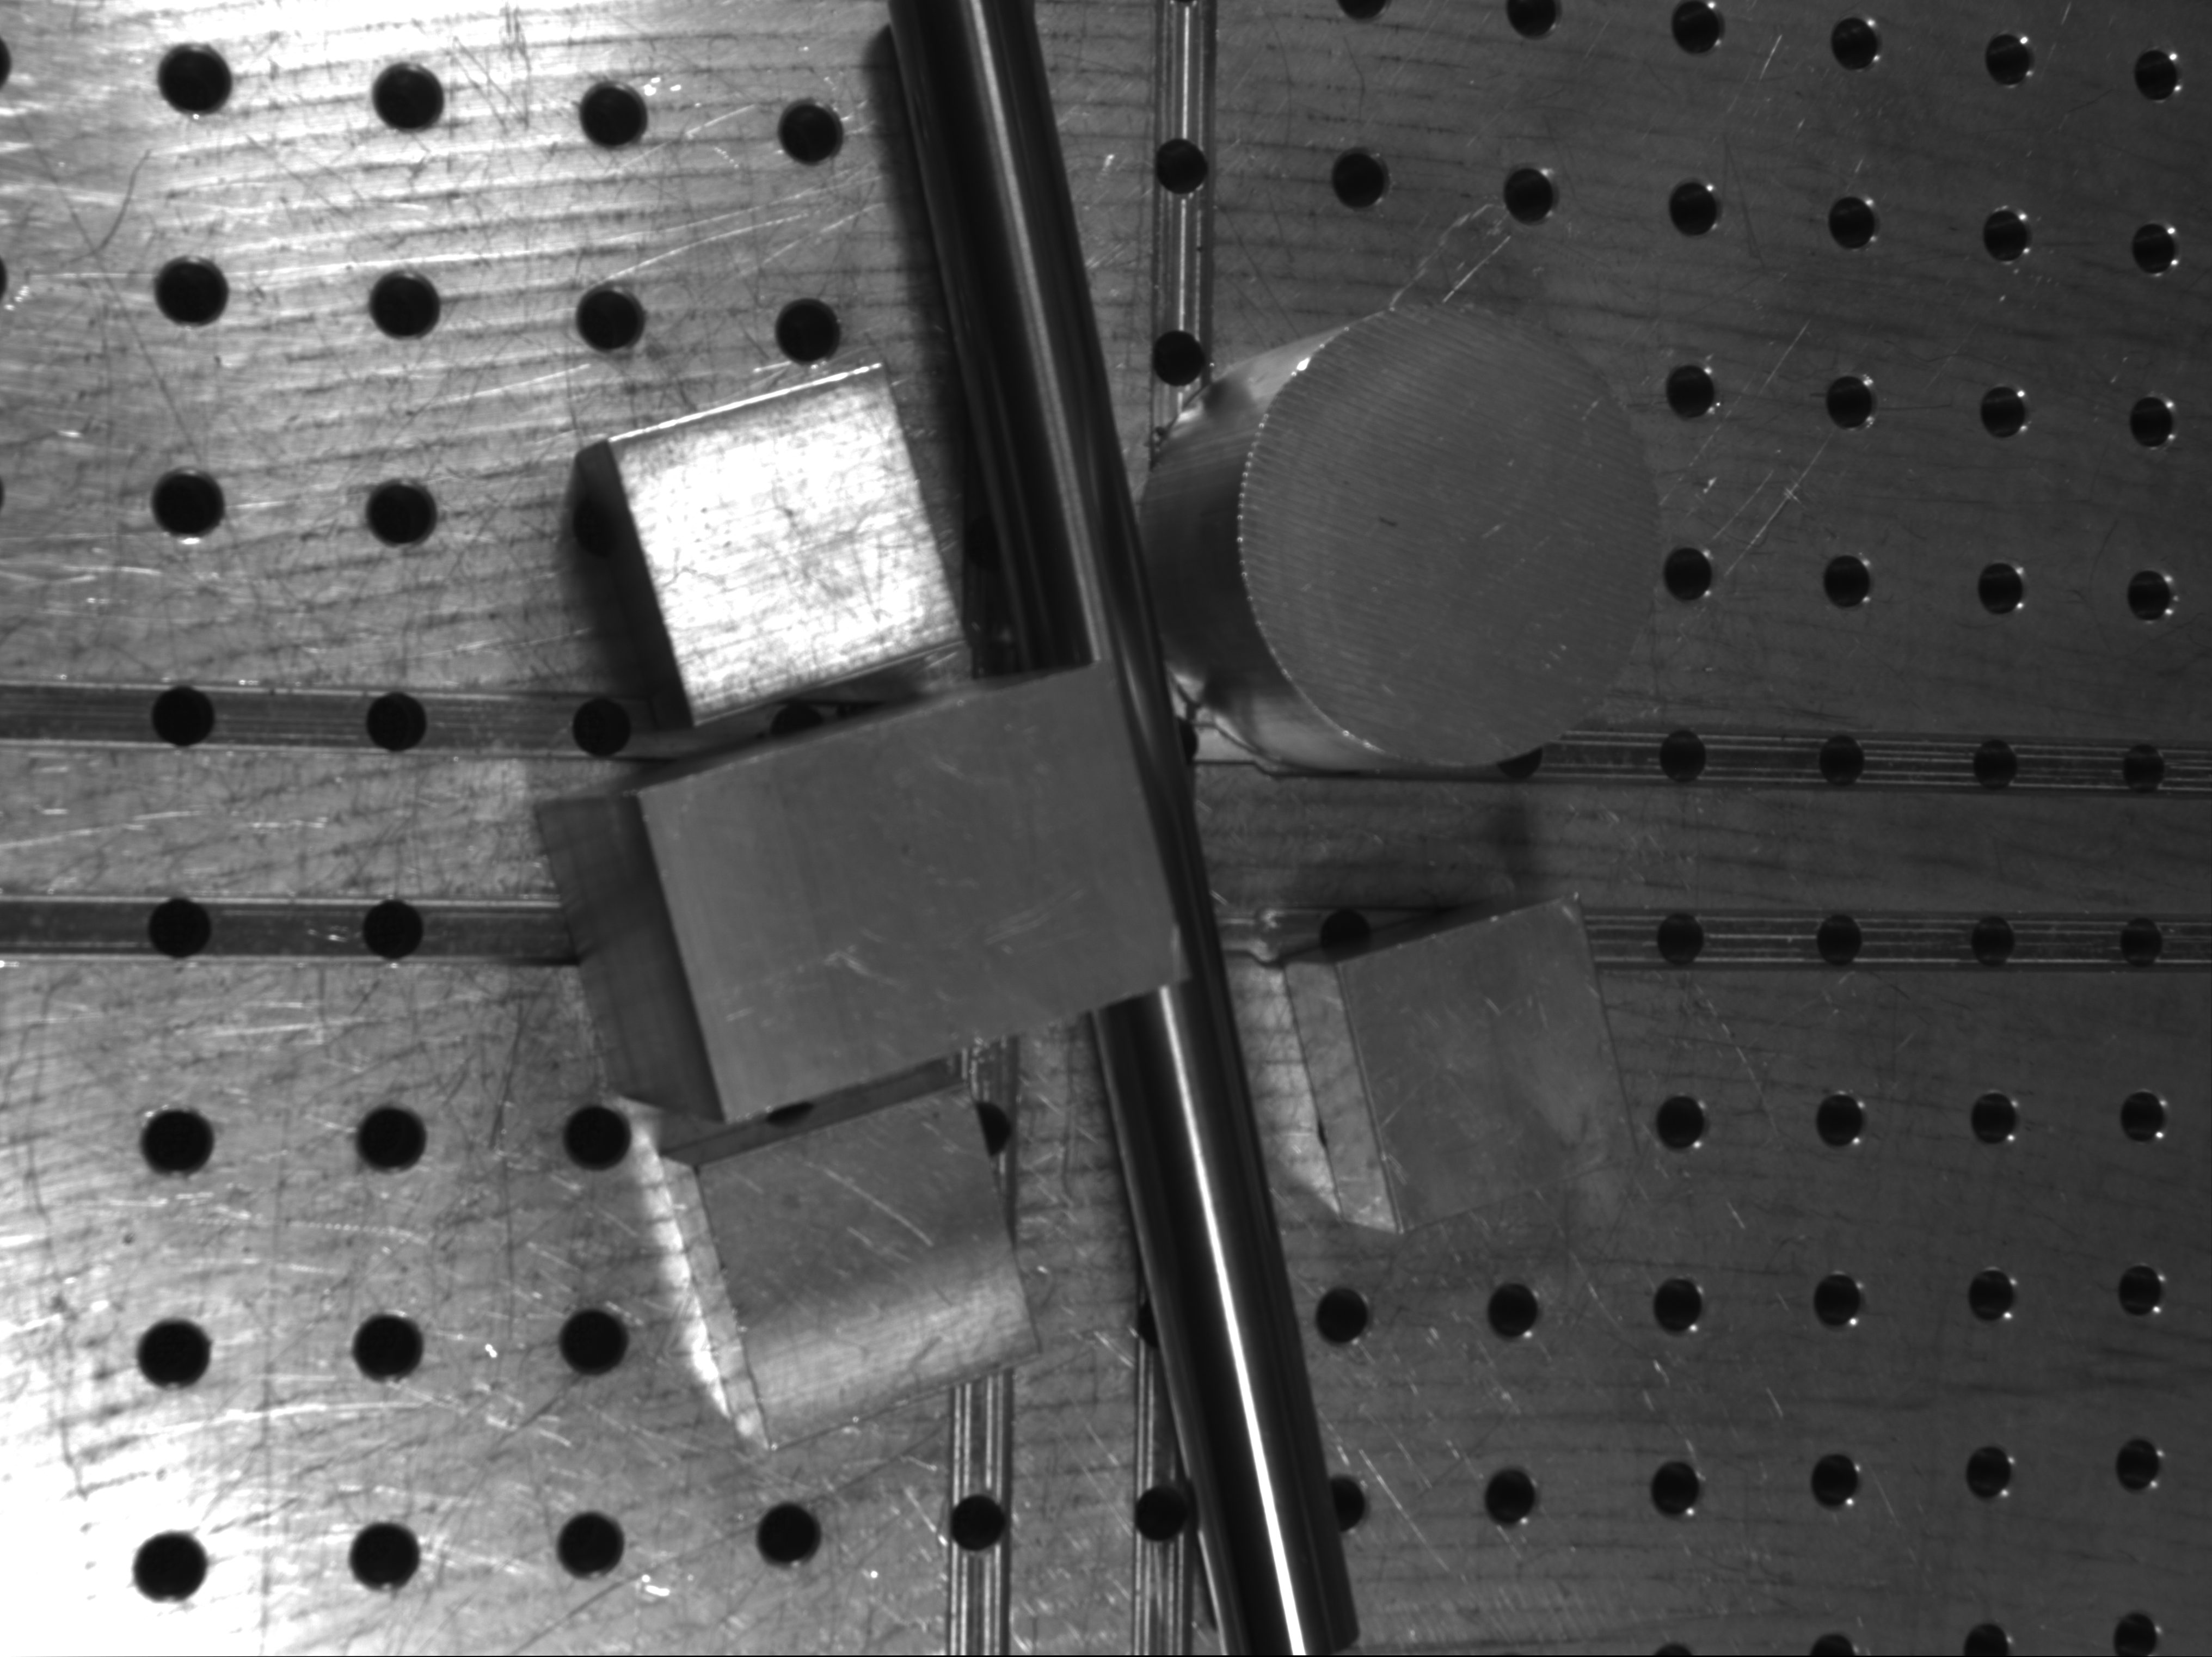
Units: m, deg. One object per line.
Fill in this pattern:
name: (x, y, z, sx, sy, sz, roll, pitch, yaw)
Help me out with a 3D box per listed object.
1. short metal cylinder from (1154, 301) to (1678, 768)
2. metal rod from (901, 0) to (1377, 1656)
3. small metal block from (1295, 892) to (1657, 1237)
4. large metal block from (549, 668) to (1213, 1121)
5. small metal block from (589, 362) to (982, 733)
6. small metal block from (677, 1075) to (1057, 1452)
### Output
short metal cylinder: (0.054, -0.051, 0.652, 0.080, 0.050, 0.080, 0, 90, -20)
metal rod: (0.007, 0.001, 0.648, 0.025, 0.025, 0.300, -13, 94, -19)
small metal block: (0.068, 0.042, 0.670, 0.050, 0.025, 0.050, -15, 95, -19)
large metal block: (-0.039, 0.010, 0.601, 0.080, 0.080, 0.050, -16, 95, -19)
small metal block: (-0.055, -0.048, 0.626, 0.050, 0.025, 0.050, -18, 96, -19)
small metal block: (-0.042, 0.074, 0.631, 0.050, 0.025, 0.050, -16, 95, -19)
